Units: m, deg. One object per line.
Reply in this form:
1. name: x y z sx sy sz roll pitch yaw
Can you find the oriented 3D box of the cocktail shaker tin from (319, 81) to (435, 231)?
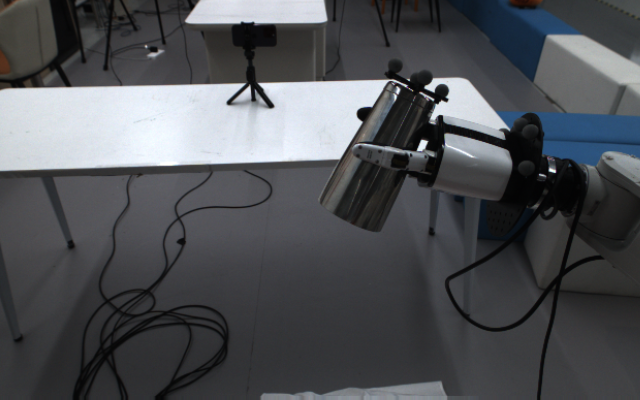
1. cocktail shaker tin: 0.077 -0.058 0.607 0.093 0.170 0.093 24 13 -6
